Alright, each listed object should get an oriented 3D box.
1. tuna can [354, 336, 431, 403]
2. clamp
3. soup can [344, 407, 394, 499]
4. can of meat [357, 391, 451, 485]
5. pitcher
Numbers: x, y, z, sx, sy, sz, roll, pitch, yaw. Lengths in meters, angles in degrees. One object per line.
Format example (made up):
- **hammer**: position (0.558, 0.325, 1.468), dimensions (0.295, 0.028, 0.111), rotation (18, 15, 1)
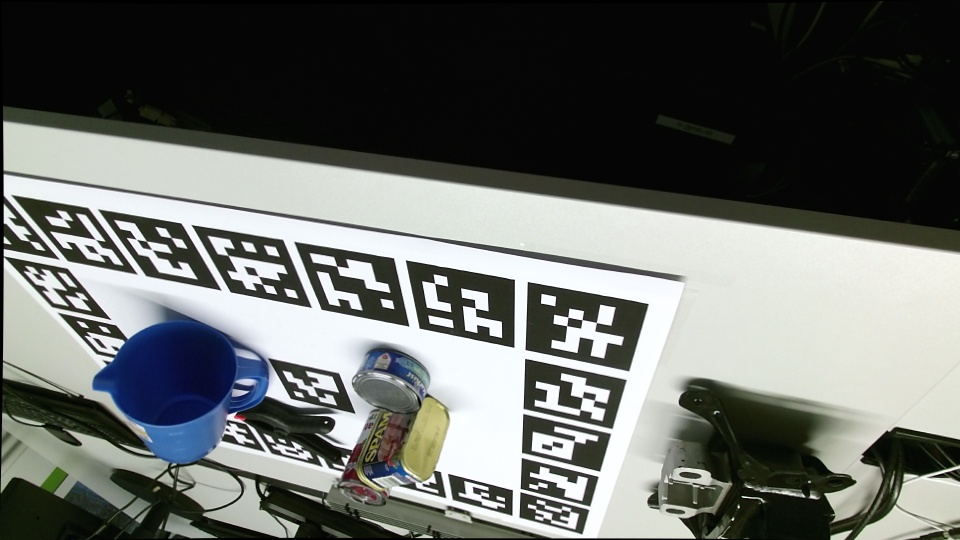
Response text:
- **tuna can**: position (-0.101, 0.117, 0.629), dimensions (0.086, 0.033, 0.086), rotation (10, 133, 11)
- **clamp**: position (-0.272, 0.232, 0.818), dimensions (0.165, 0.036, 0.122), rotation (13, 140, 13)
- **soup can**: position (-0.133, 0.242, 0.716), dimensions (0.068, 0.101, 0.068), rotation (8, 133, 9)
- **can of meat**: position (-0.091, 0.203, 0.656), dimensions (0.084, 0.101, 0.058), rotation (-24, 120, 32)
- **pitcher**: position (-0.400, 0.175, 0.722), dimensions (0.190, 0.132, 0.243), rotation (8, 147, -18)
